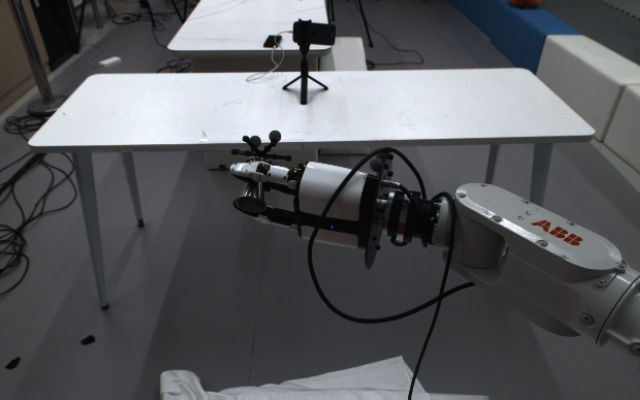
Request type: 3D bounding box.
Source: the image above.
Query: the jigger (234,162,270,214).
[{"bbox_3d":[-0.093,-0.023,0.686,0.043,0.043,0.071,5,60,4],"label":"jigger"}]
